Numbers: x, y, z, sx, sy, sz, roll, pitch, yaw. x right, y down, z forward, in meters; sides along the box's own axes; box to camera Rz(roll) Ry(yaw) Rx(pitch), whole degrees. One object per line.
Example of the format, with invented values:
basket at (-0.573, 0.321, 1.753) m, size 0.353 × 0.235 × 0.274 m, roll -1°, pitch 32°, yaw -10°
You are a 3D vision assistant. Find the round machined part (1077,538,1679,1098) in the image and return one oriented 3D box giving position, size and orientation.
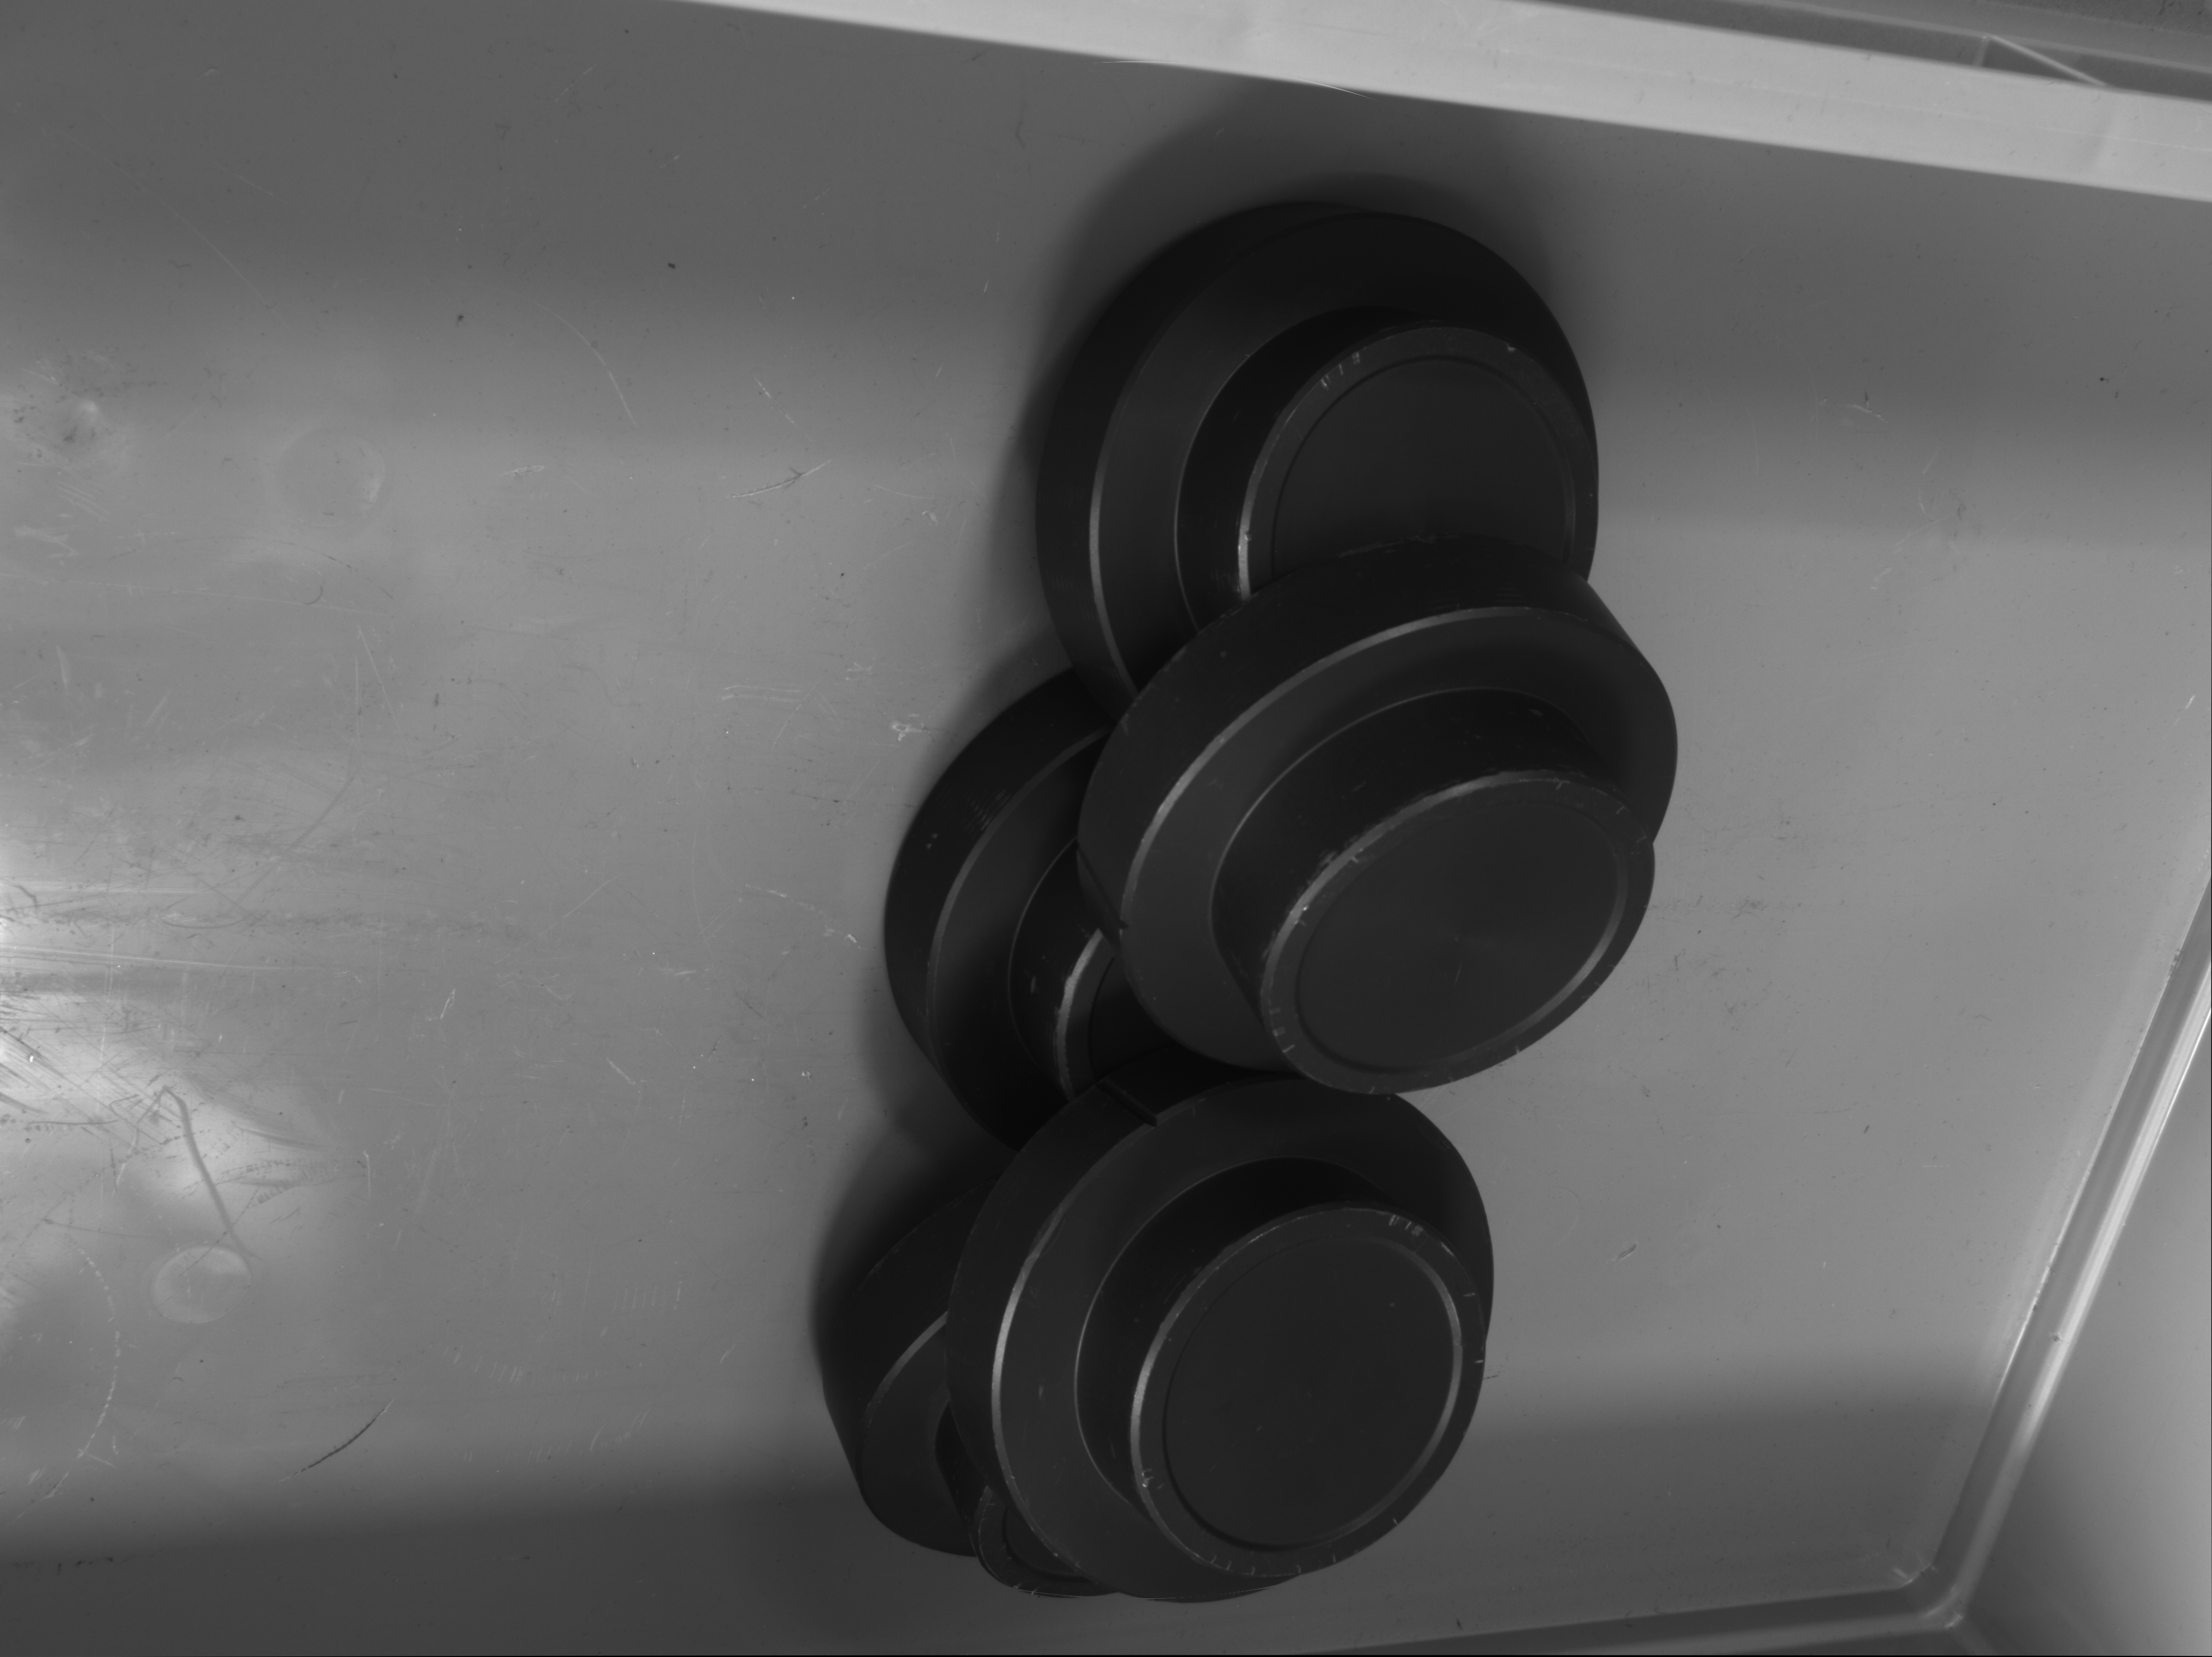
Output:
round machined part at (0.048, 0.005, 0.588) m, size 0.098 × 0.042 × 0.098 m, roll -15°, pitch 136°, yaw -15°

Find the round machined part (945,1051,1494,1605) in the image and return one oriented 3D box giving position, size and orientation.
round machined part at (0.025, 0.089, 0.627) m, size 0.098 × 0.042 × 0.098 m, roll -10°, pitch 111°, yaw -25°

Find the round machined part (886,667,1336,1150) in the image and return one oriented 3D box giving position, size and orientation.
round machined part at (0.014, 0.019, 0.644) m, size 0.098 × 0.042 × 0.098 m, roll -13°, pitch 123°, yaw -21°

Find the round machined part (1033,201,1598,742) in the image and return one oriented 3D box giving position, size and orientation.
round machined part at (0.041, -0.052, 0.601) m, size 0.098 × 0.042 × 0.098 m, roll -7°, pitch 105°, yaw -27°

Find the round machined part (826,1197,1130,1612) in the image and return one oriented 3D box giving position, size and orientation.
round machined part at (0.001, 0.106, 0.673) m, size 0.098 × 0.042 × 0.098 m, roll -15°, pitch 138°, yaw -14°
